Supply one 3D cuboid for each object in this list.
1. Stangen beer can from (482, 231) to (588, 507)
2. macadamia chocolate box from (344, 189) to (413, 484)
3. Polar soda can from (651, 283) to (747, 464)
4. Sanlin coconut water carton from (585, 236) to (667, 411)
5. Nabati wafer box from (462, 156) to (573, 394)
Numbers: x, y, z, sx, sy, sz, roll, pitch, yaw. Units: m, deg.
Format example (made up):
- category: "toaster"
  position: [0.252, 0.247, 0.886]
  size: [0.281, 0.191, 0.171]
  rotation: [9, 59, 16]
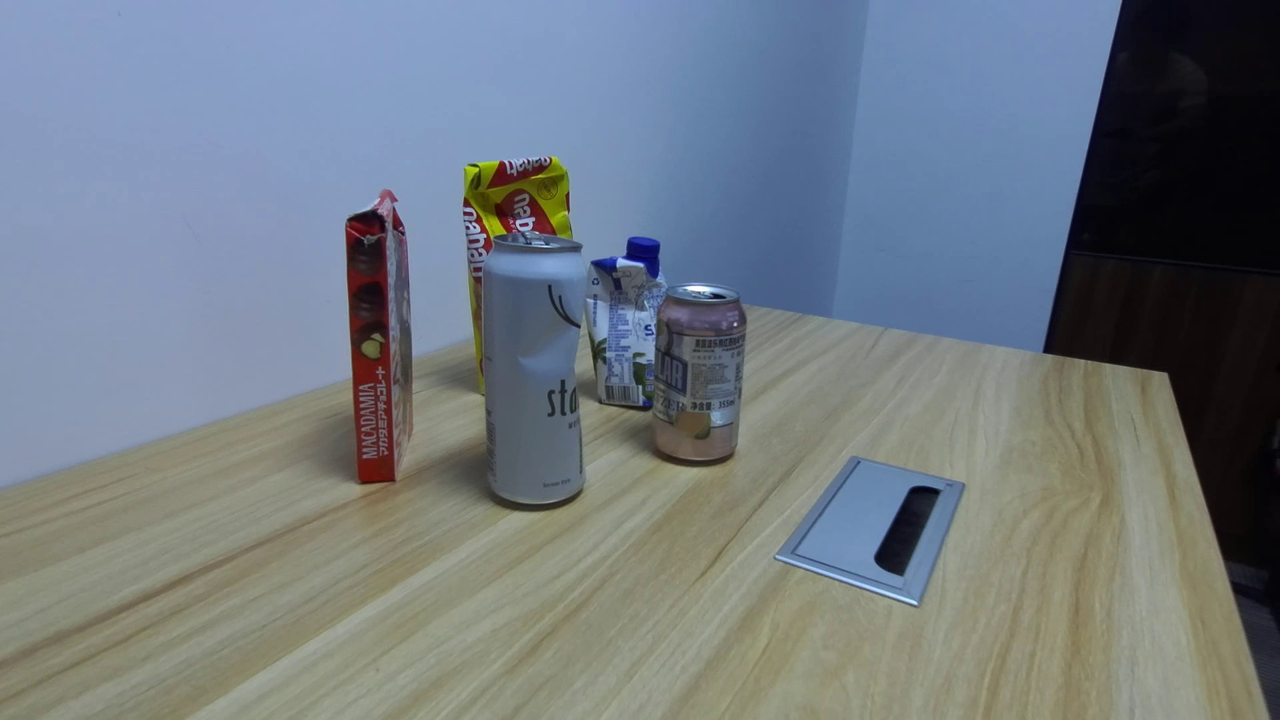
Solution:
- category: "Stangen beer can"
  position: [-0.063, 0.006, 0.454]
  size: [0.069, 0.173, 0.070]
  rotation: [10, 18, 26]
- category: "macadamia chocolate box"
  position: [-0.179, -0.020, 0.494]
  size: [0.027, 0.187, 0.102]
  rotation: [1, 19, -11]
- category: "Polar soda can"
  position: [0.043, 0.010, 0.524]
  size: [0.067, 0.125, 0.067]
  rotation: [1, 18, 0]
- category: "Sanlin coconut water carton"
  position: [-0.010, -0.034, 0.625]
  size: [0.068, 0.144, 0.057]
  rotation: [0, 9, 17]
- category: "Nabati wafer box"
  position: [-0.104, -0.074, 0.635]
  size: [0.042, 0.205, 0.114]
  rotation: [13, 24, 31]
